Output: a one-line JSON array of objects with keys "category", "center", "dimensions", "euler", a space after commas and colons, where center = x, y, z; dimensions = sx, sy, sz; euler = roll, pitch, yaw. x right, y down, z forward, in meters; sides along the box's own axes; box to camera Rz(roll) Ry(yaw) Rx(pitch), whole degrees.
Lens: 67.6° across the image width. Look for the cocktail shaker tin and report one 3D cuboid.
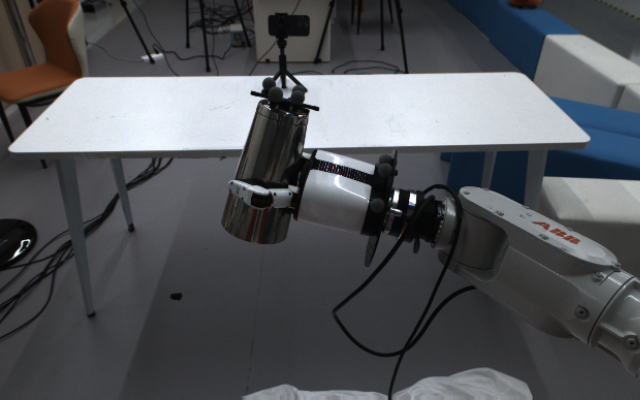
[{"category": "cocktail shaker tin", "center": [-0.066, -0.039, 0.634], "dimensions": [0.093, 0.170, 0.093], "euler": [15, 20, -5]}]
